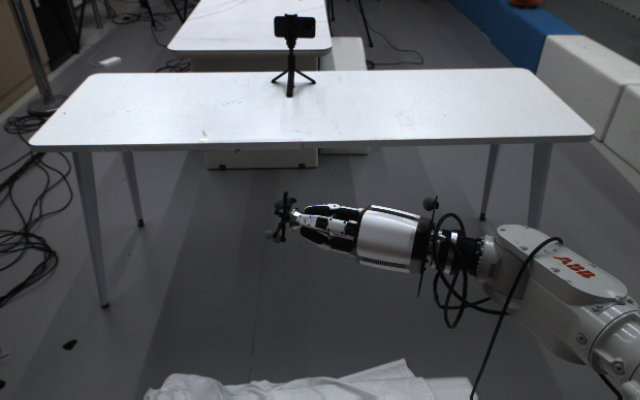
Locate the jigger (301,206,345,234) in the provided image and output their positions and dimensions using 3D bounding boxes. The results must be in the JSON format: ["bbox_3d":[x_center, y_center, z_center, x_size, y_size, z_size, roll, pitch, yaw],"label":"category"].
[{"bbox_3d":[-0.006,0.034,0.787,0.071,0.043,0.043,10,35,16],"label":"jigger"}]
